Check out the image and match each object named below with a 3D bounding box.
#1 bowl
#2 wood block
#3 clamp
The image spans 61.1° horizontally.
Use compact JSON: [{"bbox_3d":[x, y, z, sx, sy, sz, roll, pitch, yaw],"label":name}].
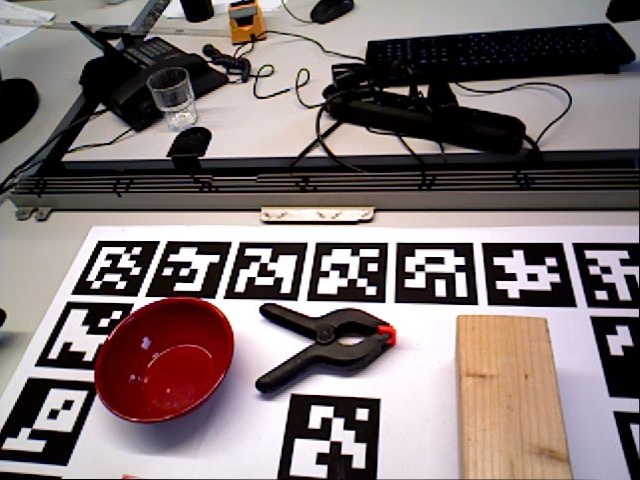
[{"bbox_3d":[-0.169,0.147,0.621,0.161,0.056,0.159,-5,51,5],"label":"bowl"},{"bbox_3d":[0.185,0.182,0.493,0.090,0.092,0.202,3,50,10],"label":"wood block"},{"bbox_3d":[-0.004,0.124,0.627,0.164,0.037,0.120,-7,48,2],"label":"clamp"}]
